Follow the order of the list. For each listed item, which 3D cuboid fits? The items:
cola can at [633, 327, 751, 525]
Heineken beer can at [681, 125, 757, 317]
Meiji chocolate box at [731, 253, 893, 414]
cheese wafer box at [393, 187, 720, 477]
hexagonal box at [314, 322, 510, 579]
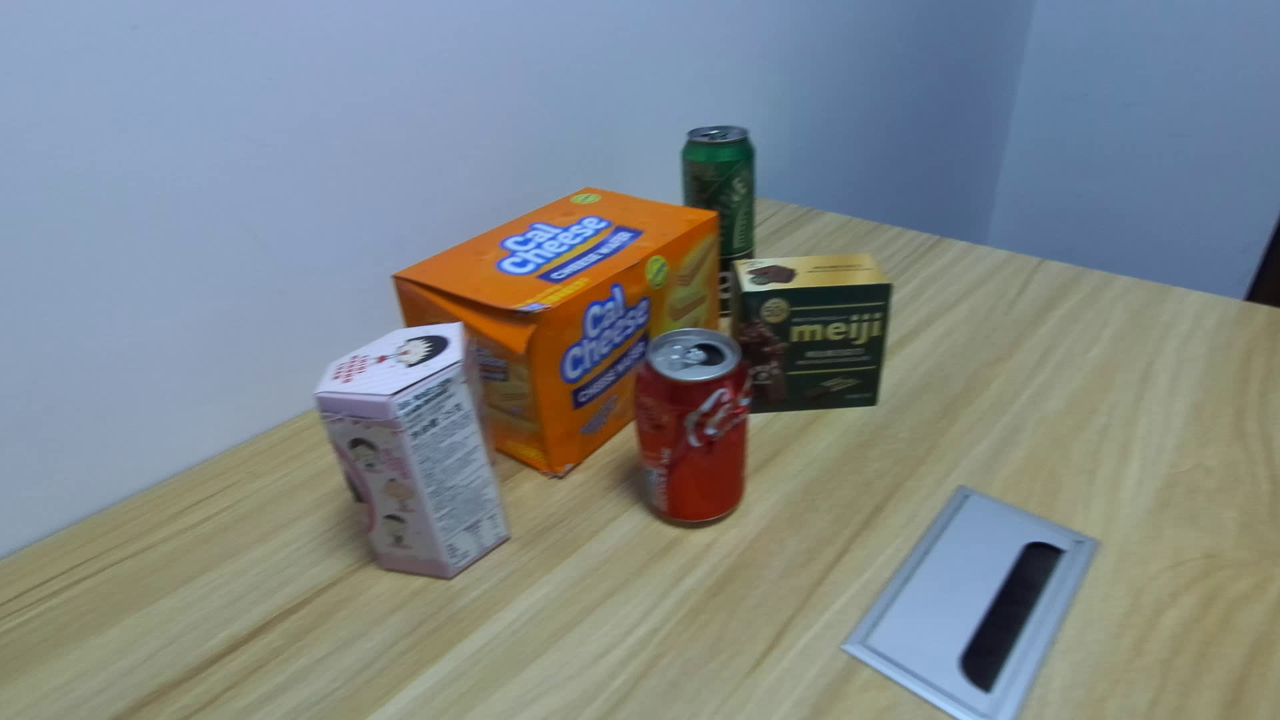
[{"bbox_3d":[0.033,0.042,0.442,0.065,0.117,0.066,11,35,24],"label":"cola can"},{"bbox_3d":[0.074,-0.126,0.662,0.067,0.169,0.067,-3,29,2],"label":"Heineken beer can"},{"bbox_3d":[0.126,-0.018,0.536,0.110,0.109,0.056,-4,31,1],"label":"Meiji chocolate box"},{"bbox_3d":[-0.053,-0.038,0.567,0.149,0.137,0.228,20,39,33],"label":"cheese wafer box"},{"bbox_3d":[-0.130,0.055,0.424,0.085,0.135,0.092,-12,32,-11],"label":"hexagonal box"}]
